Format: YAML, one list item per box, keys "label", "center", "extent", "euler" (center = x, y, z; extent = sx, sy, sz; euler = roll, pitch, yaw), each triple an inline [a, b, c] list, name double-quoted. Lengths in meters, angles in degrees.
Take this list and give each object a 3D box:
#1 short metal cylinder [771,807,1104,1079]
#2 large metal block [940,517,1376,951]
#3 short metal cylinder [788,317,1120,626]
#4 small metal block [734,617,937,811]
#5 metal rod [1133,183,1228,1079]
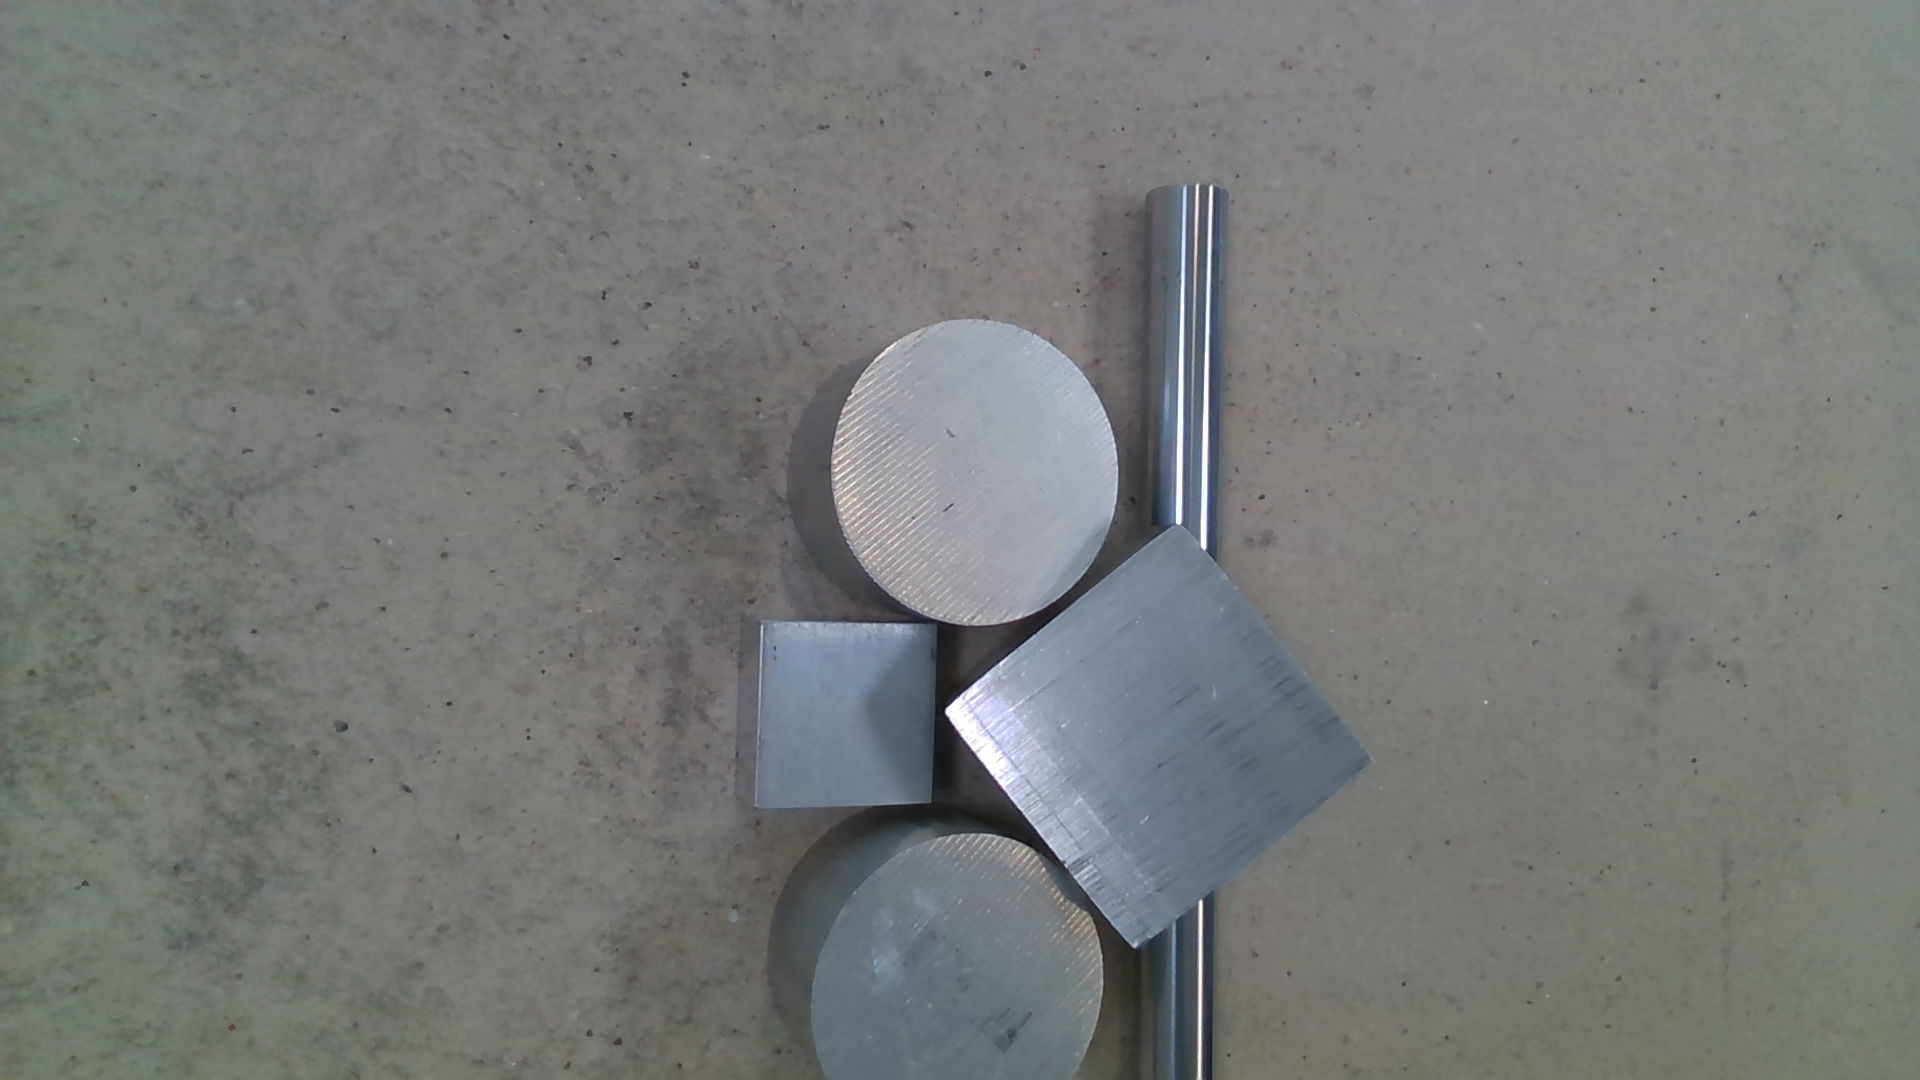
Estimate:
- label: "short metal cylinder"
  center: [-0.008, 0.116, 0.378]
  extent: [0.080, 0.050, 0.080]
  euler: [0, 90, -20]
- label: "large metal block"
  center: [0.051, 0.051, 0.381]
  extent: [0.080, 0.050, 0.080]
  euler: [-39, 89, 0]
- label: "short metal cylinder"
  center: [-0.003, -0.018, 0.379]
  extent: [0.080, 0.050, 0.080]
  euler: [0, 90, -20]
- label: "small metal block"
  center: [-0.035, 0.047, 0.382]
  extent: [0.050, 0.025, 0.050]
  euler: [2, 89, -20]
- label: "metal rod"
  center: [0.067, 0.045, 0.419]
  extent: [0.025, 0.025, 0.300]
  euler: [1, 90, -20]
